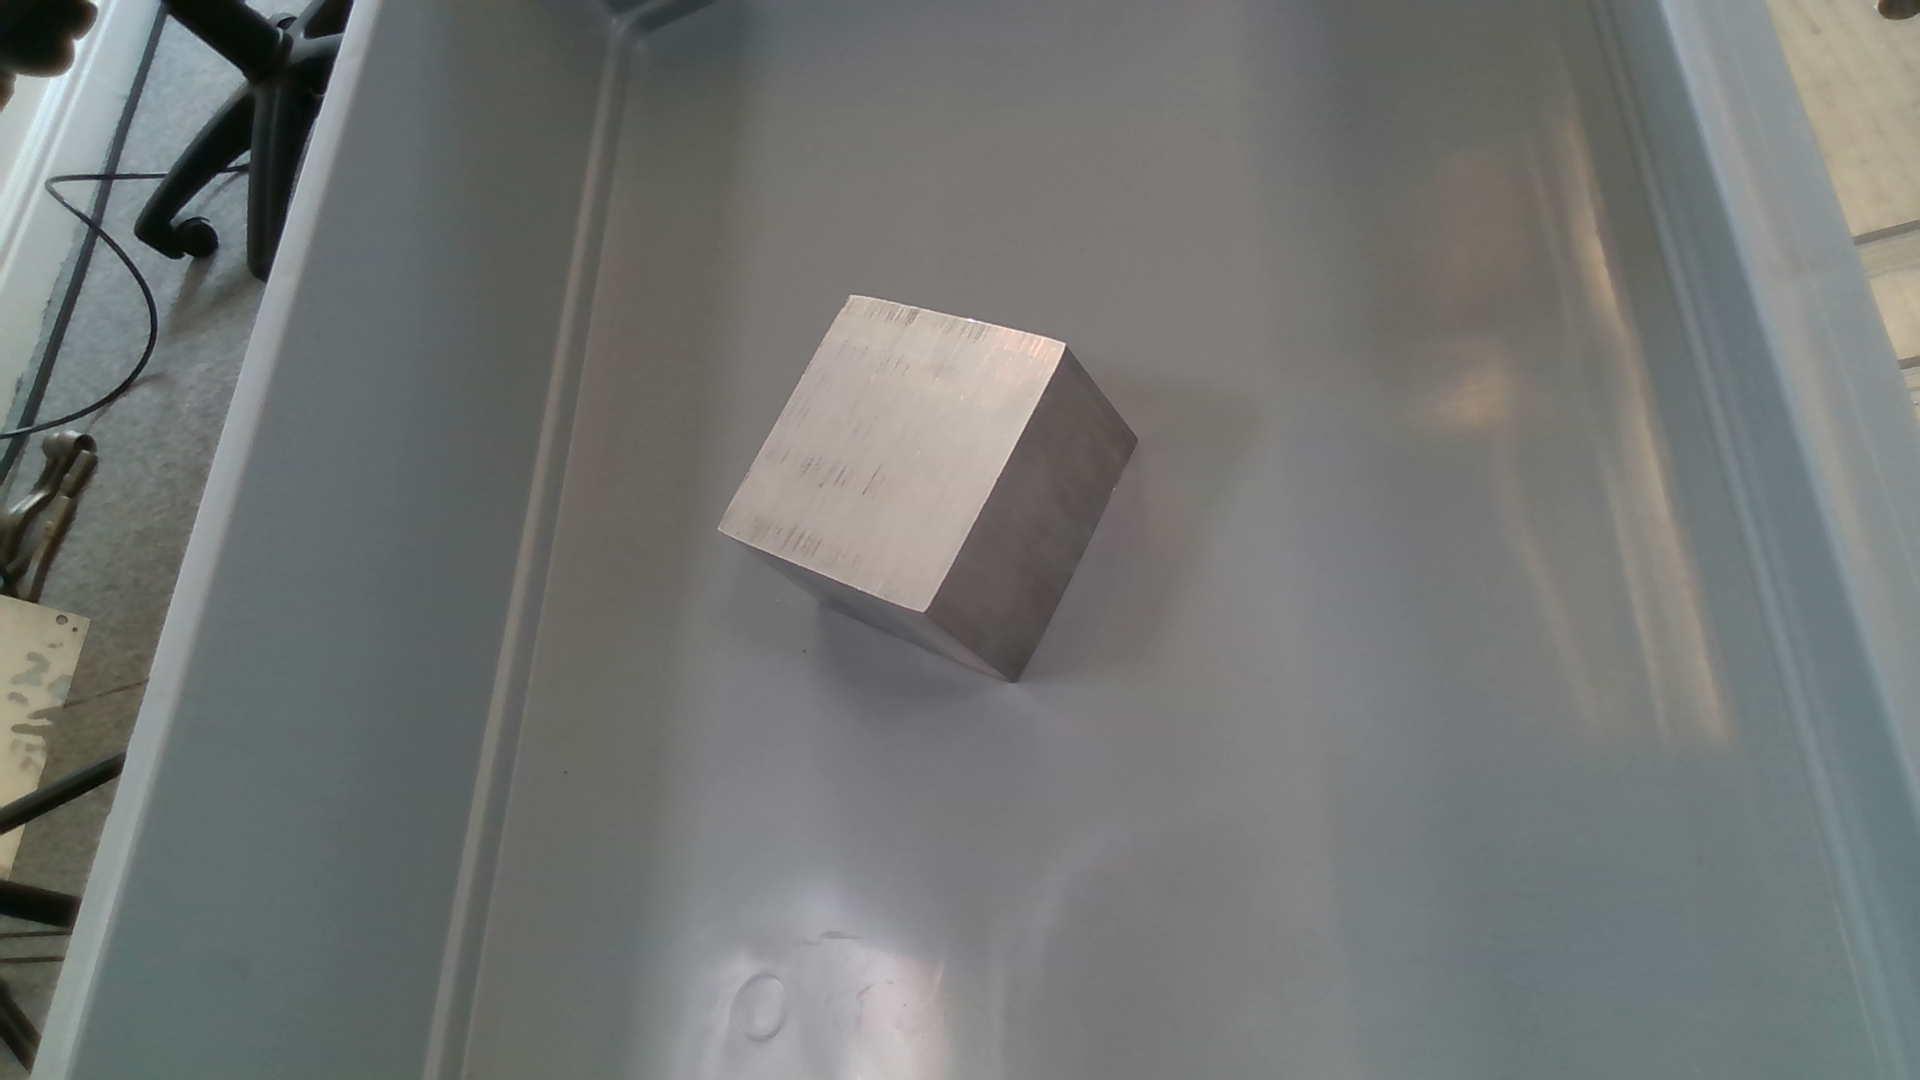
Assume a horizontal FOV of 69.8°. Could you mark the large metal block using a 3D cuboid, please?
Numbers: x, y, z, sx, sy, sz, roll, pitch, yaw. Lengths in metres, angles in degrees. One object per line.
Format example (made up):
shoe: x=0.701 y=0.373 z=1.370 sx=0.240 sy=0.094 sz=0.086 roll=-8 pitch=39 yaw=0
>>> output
large metal block: x=-0.009 y=-0.017 z=0.387 sx=0.080 sy=0.050 sz=0.080 roll=20 pitch=77 yaw=37
